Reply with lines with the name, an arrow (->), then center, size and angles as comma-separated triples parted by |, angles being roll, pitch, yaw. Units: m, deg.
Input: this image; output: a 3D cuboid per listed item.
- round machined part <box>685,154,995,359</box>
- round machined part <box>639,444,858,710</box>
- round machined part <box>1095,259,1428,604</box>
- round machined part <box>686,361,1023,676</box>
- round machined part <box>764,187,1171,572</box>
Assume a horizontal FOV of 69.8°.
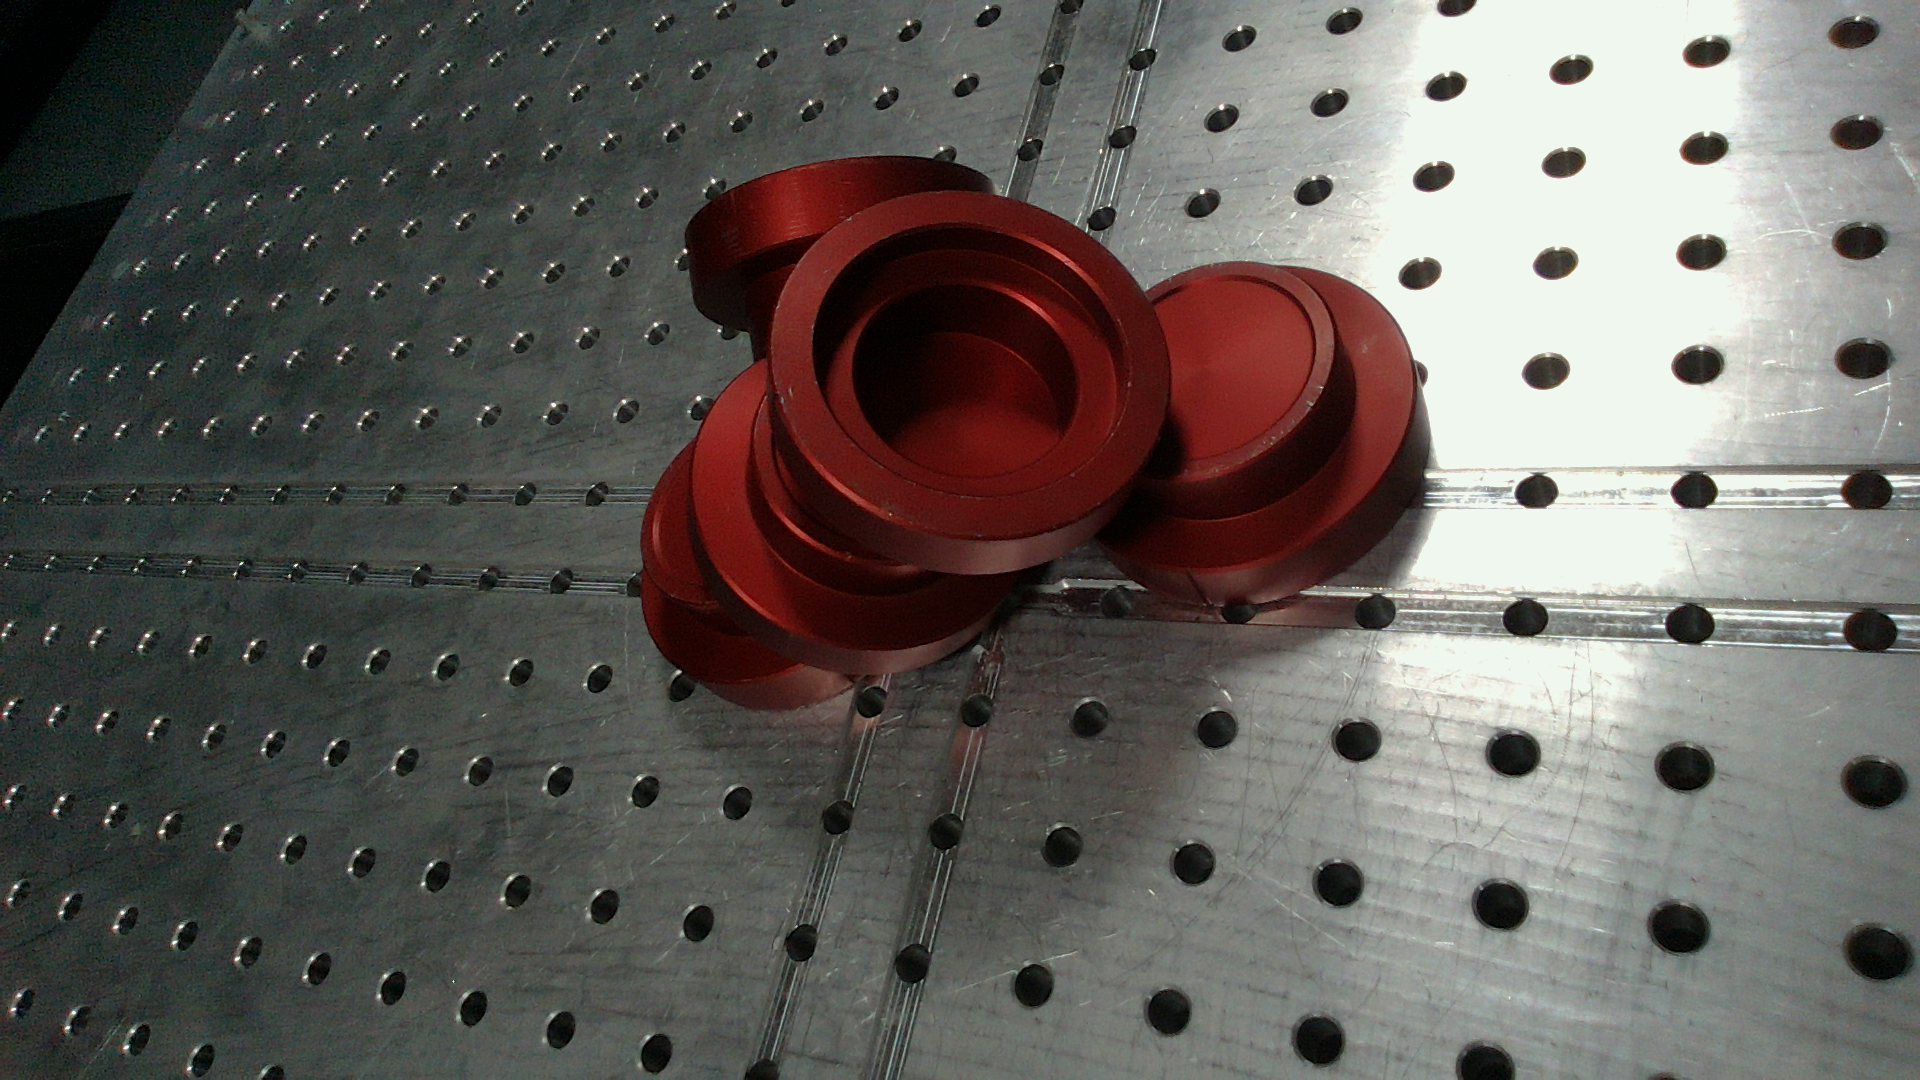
round machined part -> -0.033, -0.078, 0.422 | 0.098, 0.098, 0.042 | -12, 82, 22
round machined part -> -0.057, -0.001, 0.418 | 0.098, 0.042, 0.098 | -13, 56, 21
round machined part -> 0.072, -0.036, 0.369 | 0.098, 0.042, 0.098 | -13, 56, 21
round machined part -> -0.025, -0.016, 0.379 | 0.098, 0.042, 0.098 | 5, 63, -11
round machined part -> 0.000, -0.037, 0.346 | 0.098, 0.042, 0.098 | 3, 65, -7
